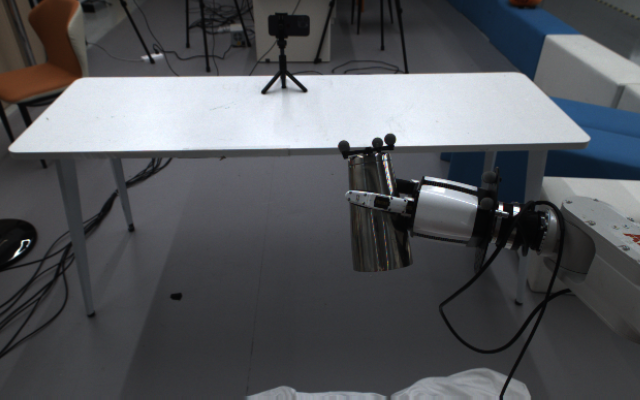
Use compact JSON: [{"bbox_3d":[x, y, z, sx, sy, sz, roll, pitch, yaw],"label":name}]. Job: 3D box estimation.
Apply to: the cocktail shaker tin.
[{"bbox_3d":[0.085,0.017,0.740,0.093,0.170,0.093,-8,1,0],"label":"cocktail shaker tin"}]
